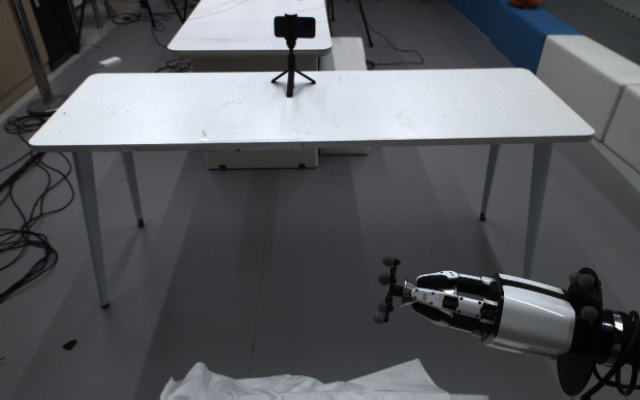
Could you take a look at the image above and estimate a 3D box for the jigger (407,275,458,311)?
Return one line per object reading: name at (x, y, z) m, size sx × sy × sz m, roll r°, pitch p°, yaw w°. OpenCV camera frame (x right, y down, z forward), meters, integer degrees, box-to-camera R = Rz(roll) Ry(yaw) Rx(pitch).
jigger at (0.154, 0.128, 0.654) m, size 0.071 × 0.043 × 0.043 m, roll 8°, pitch 35°, yaw 14°
